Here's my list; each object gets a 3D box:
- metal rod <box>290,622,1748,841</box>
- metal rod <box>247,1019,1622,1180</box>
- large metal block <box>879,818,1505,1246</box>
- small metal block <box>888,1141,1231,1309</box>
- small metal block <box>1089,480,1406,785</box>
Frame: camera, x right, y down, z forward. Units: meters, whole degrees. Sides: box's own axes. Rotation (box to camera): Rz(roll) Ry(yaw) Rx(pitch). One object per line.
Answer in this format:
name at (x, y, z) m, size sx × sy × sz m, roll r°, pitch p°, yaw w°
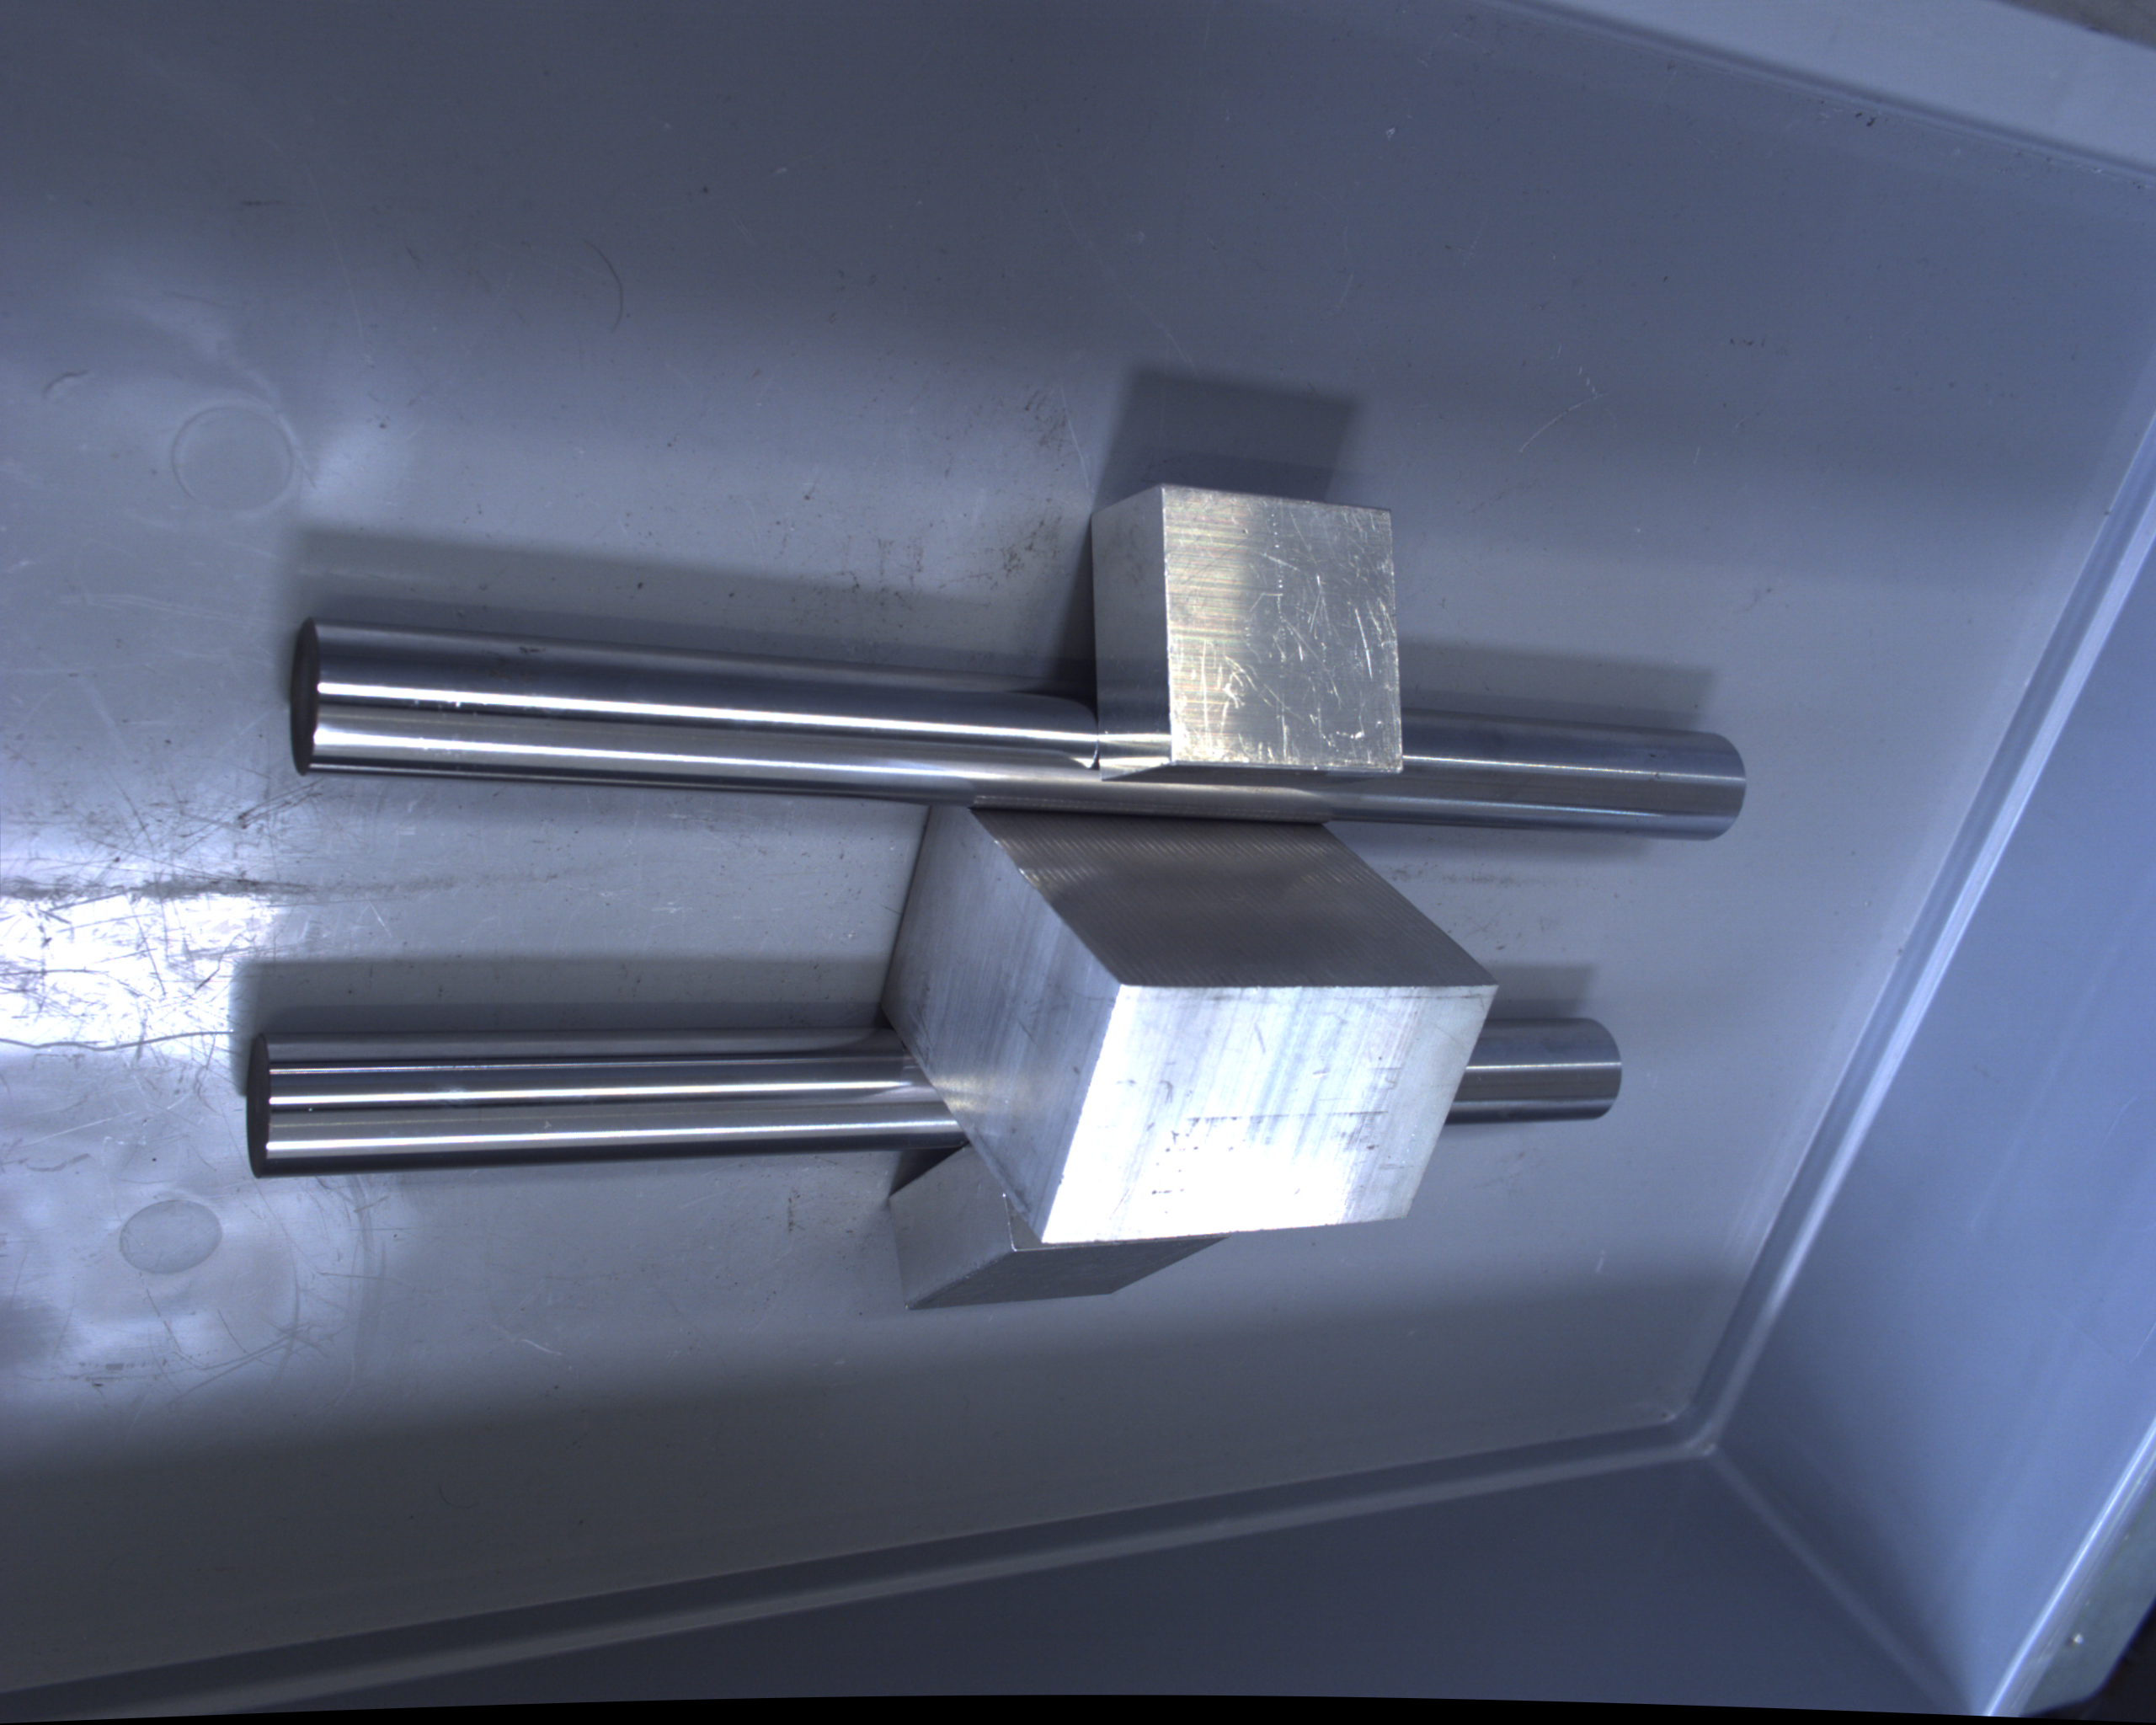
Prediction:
metal rod at (0.011, -0.021, 0.399) m, size 0.303 × 0.025 × 0.025 m, roll 2°, pitch 118°, yaw -30°
metal rod at (-0.009, 0.046, 0.431) m, size 0.303 × 0.025 × 0.025 m, roll 2°, pitch 118°, yaw -30°
large metal block at (0.019, 0.025, 0.396) m, size 0.081 × 0.080 × 0.050 m, roll 2°, pitch 118°, yaw -29°
small metal block at (-0.005, 0.073, 0.434) m, size 0.050 × 0.025 × 0.050 m, roll 2°, pitch 155°, yaw -30°
small metal block at (0.031, -0.040, 0.384) m, size 0.050 × 0.025 × 0.050 m, roll 1°, pitch 84°, yaw -29°
